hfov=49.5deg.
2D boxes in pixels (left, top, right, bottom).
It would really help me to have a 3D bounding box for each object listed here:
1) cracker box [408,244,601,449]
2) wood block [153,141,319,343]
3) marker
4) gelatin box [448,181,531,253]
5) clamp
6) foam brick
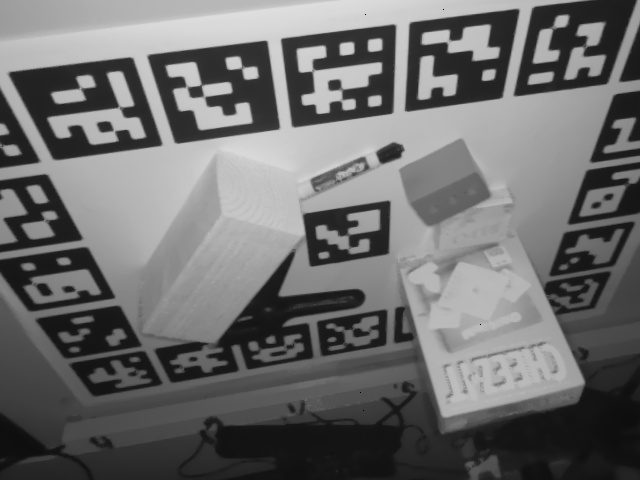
[{"bbox_3d":[0.202,0.115,0.802,0.164,0.215,0.071,-10,137,1],"label":"cracker box"},{"bbox_3d":[-0.094,0.009,0.727,0.091,0.091,0.203,16,132,-29],"label":"wood block"},{"bbox_3d":[0.056,-0.083,0.713,0.120,0.020,0.019,-23,133,10],"label":"marker"},{"bbox_3d":[0.194,-0.026,0.801,0.089,0.030,0.073,-10,134,-3],"label":"gelatin box"},{"bbox_3d":[-0.048,0.090,0.852,0.201,0.037,0.166,-32,132,18],"label":"clamp"},{"bbox_3d":[0.149,-0.066,0.731,0.077,0.051,0.053,-27,132,14],"label":"foam brick"}]
